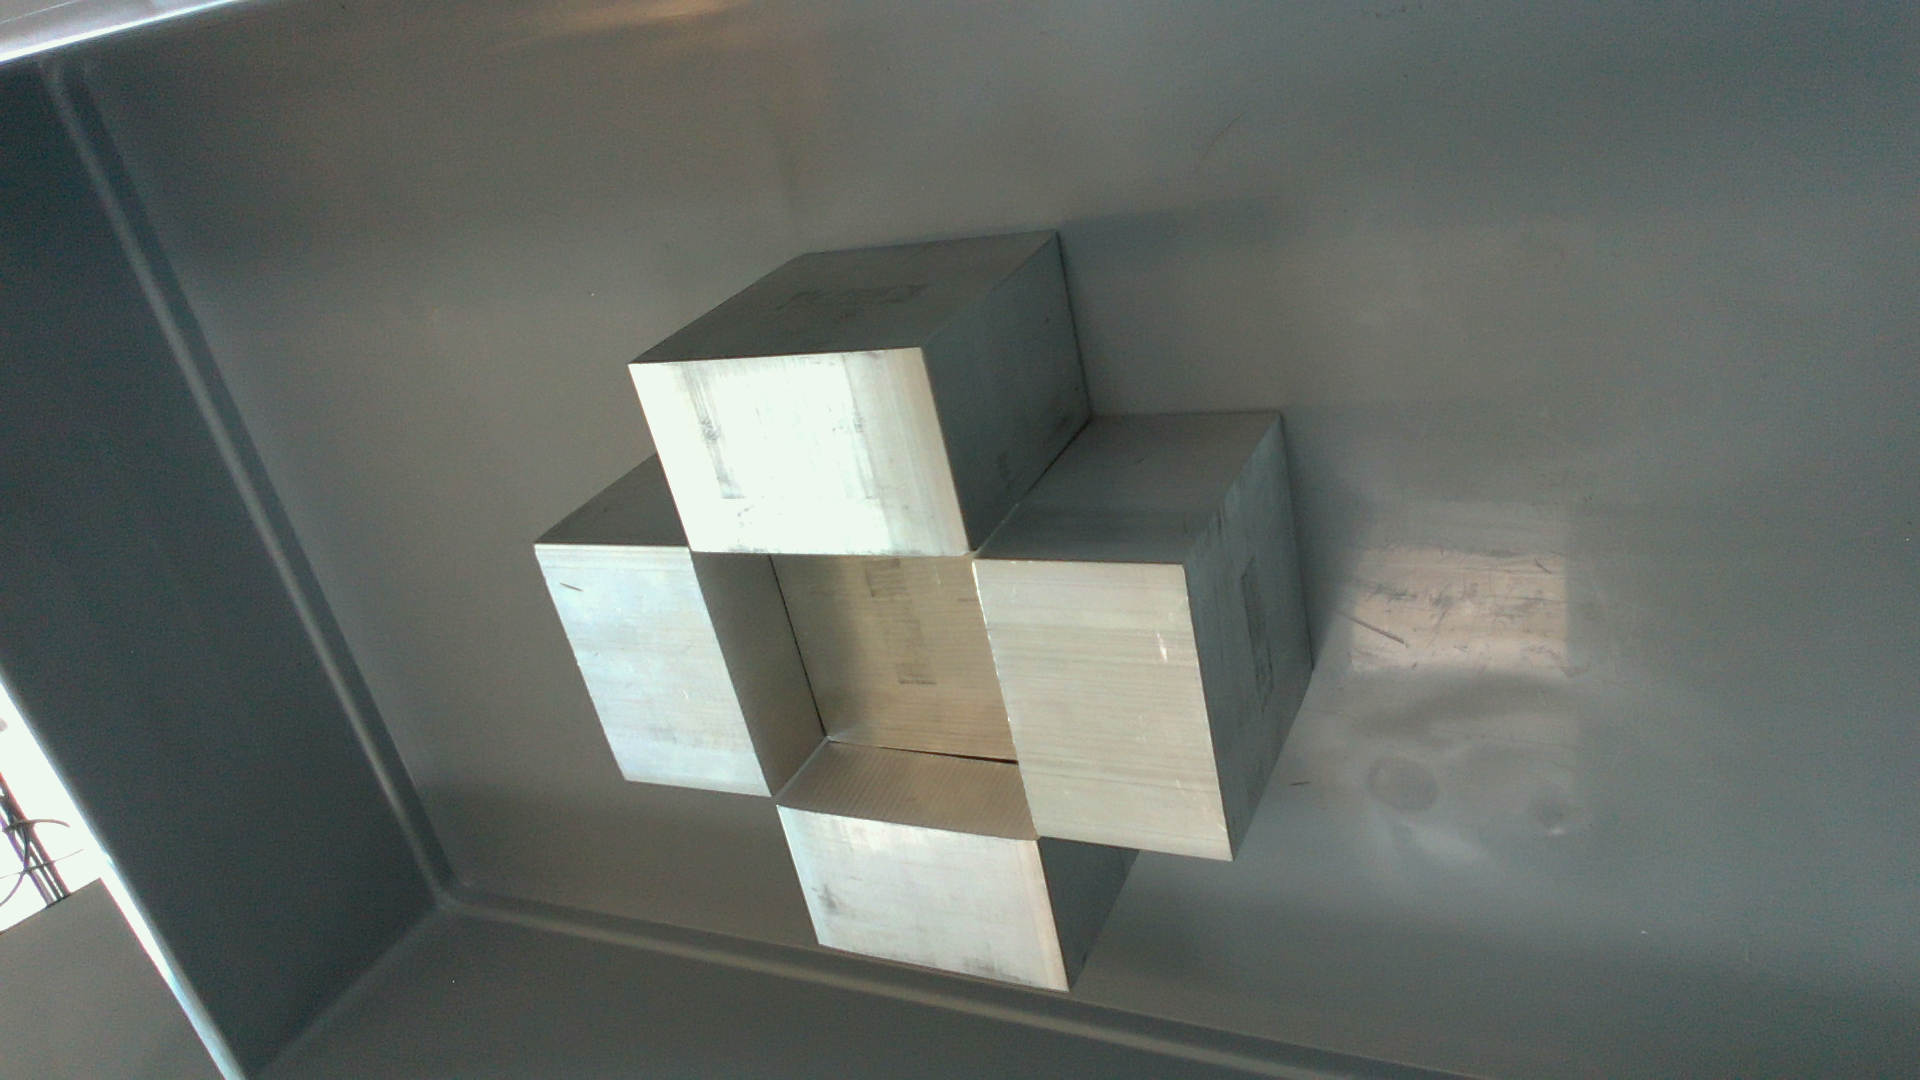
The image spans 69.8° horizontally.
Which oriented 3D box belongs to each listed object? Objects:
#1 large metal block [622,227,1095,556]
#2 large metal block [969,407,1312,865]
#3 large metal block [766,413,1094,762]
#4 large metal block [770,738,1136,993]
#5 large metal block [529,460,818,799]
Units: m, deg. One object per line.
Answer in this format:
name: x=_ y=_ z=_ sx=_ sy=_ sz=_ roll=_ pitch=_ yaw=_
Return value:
large metal block: x=-0.021 y=-0.038 z=0.344 sx=0.080 sy=0.080 sz=0.050 roll=1 pitch=119 yaw=28
large metal block: x=0.050 y=0.021 z=0.343 sx=0.050 sy=0.080 sz=0.080 roll=1 pitch=119 yaw=28
large metal block: x=-0.002 y=0.013 z=0.383 sx=0.080 sy=0.050 sz=0.080 roll=1 pitch=119 yaw=28
large metal block: x=0.005 y=0.077 z=0.401 sx=0.080 sy=0.080 sz=0.050 roll=2 pitch=119 yaw=27
large metal block: x=-0.067 y=0.017 z=0.403 sx=0.050 sy=0.080 sz=0.080 roll=1 pitch=119 yaw=28
